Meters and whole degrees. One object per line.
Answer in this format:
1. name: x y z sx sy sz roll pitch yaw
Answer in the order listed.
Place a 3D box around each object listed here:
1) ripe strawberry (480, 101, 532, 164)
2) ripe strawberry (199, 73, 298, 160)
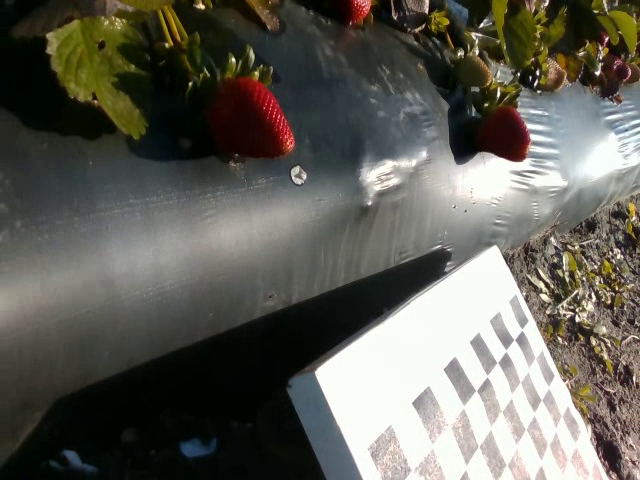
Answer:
1. ripe strawberry: 0.148 -0.081 0.488 0.042 0.059 0.042 -36 -30 25
2. ripe strawberry: -0.030 -0.055 0.291 0.055 0.042 0.045 41 21 24
